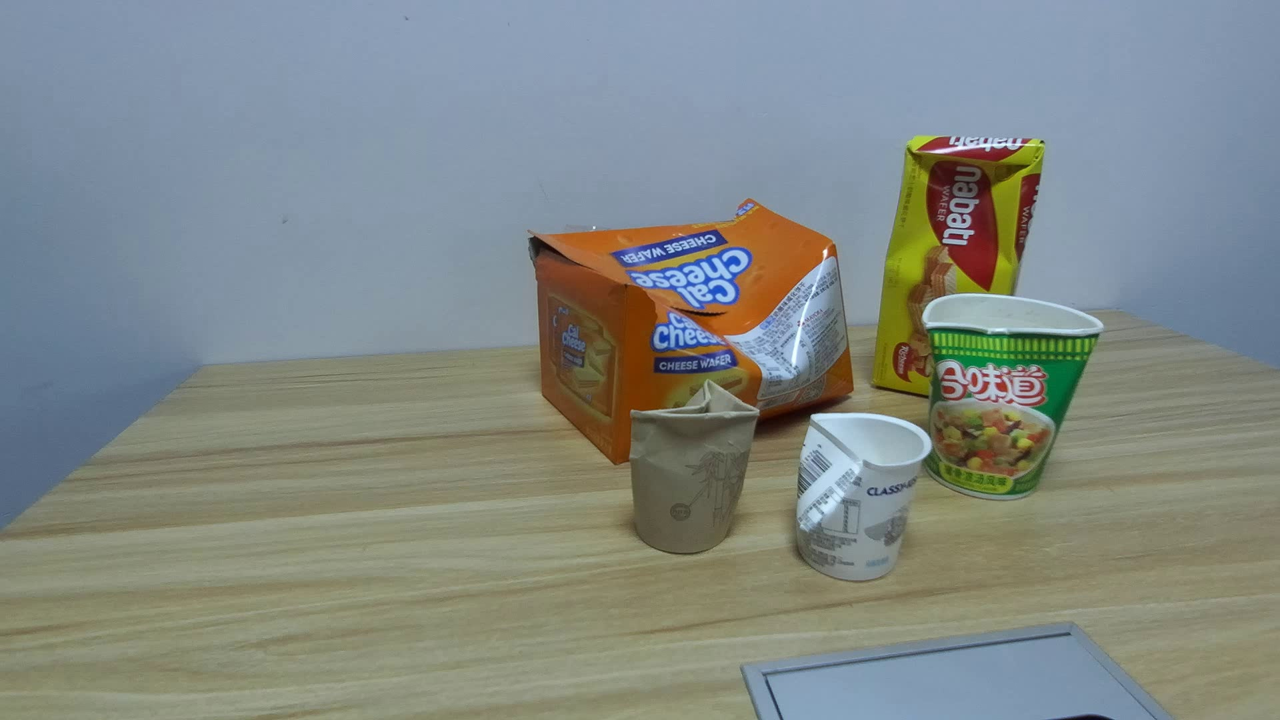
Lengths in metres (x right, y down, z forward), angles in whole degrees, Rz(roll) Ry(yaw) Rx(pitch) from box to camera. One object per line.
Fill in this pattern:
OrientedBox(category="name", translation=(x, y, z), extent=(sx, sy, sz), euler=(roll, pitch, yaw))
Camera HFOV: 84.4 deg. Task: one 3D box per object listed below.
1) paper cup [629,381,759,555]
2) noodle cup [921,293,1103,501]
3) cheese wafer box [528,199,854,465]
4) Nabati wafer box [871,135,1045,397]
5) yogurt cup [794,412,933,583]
OrientedBox(category="paper cup", translation=(0.026, 0.057, 0.395), extent=(0.066, 0.083, 0.058), euler=(-2, 20, -6))
OrientedBox(category="noodle cup", translation=(0.226, 0.022, 0.446), extent=(0.093, 0.109, 0.087), euler=(13, 25, 31))
OrientedBox(category="cheese wafer box", translation=(0.050, -0.033, 0.549), extent=(0.220, 0.145, 0.190), euler=(-12, 23, -27))
OrientedBox(category="Nabati wafer box", translation=(0.246, -0.069, 0.556), extent=(0.096, 0.203, 0.042), euler=(14, 25, 29))
OrientedBox(category="yogurt cup", translation=(0.115, 0.071, 0.373), extent=(0.067, 0.070, 0.067), euler=(-1, 19, 1))
